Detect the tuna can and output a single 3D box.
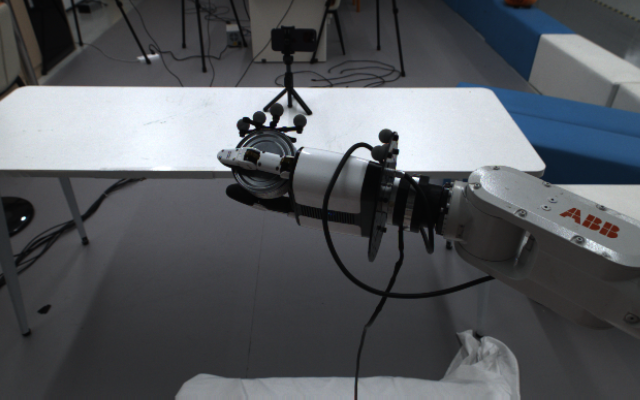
[{"bbox_3d":[-0.068,-0.046,0.621,0.085,0.034,0.085,-5,70,14],"label":"tuna can"}]
